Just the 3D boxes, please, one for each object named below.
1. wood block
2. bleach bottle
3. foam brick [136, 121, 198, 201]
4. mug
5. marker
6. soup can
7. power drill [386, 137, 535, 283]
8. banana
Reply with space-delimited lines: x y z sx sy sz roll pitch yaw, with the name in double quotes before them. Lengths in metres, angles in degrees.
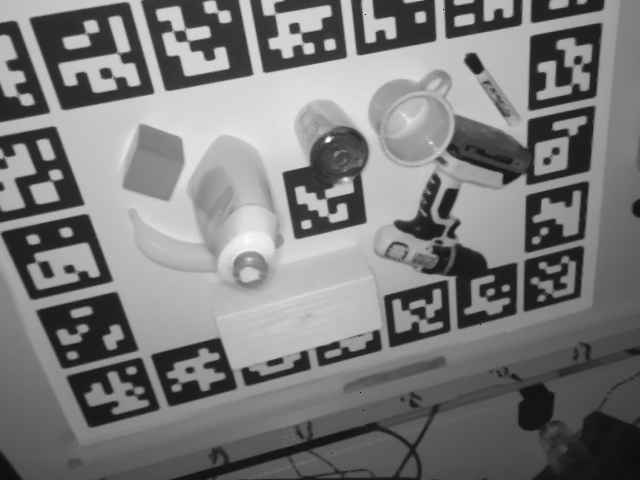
"wood block" -0.015 0.092 0.899 0.207 0.091 0.089 -13 119 -6
"bleach bottle" -0.071 -0.023 0.728 0.068 0.251 0.101 15 116 -20
"foam brick" -0.170 -0.088 0.770 0.053 0.078 0.051 19 115 -24
"mug" 0.137 -0.141 0.810 0.094 0.081 0.116 30 105 -23
"marker" 0.243 -0.184 0.852 0.019 0.019 0.121 -39 119 7
"soup can" 0.035 -0.107 0.786 0.068 0.102 0.067 -6 124 -8
"power drill" 0.199 -0.036 0.904 0.186 0.057 0.185 15 115 -17
"banana" -0.110 0.023 0.863 0.199 0.039 0.074 3 104 -13
